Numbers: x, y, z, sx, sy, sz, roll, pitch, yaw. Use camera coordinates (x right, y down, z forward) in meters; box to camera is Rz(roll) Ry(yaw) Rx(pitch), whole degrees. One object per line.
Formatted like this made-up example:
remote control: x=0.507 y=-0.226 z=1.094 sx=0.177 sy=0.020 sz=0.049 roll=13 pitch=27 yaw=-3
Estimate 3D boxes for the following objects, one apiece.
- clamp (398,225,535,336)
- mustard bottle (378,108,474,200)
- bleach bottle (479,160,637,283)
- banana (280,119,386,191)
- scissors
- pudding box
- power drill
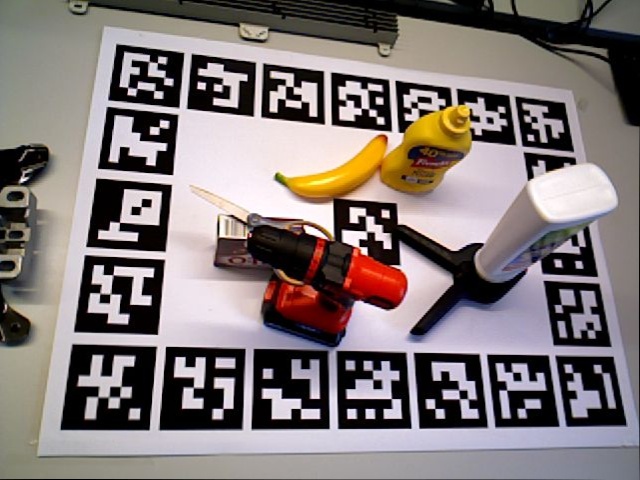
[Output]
clamp: x=0.216 y=0.048 z=0.773 sx=0.200 sy=0.037 sz=0.164 roll=-2 pitch=73 yaw=-15
mustard bottle: x=0.157 y=-0.124 z=0.758 sx=0.095 sy=0.195 sz=0.057 roll=18 pitch=65 yaw=-8
bleach bottle: x=0.275 y=-0.002 z=0.688 sx=0.101 sy=0.255 sz=0.067 roll=-16 pitch=69 yaw=-12
banana: x=0.037 y=-0.121 z=0.802 sx=0.194 sy=0.039 sz=0.074 roll=-36 pitch=64 yaw=-22
scissors: x=-0.080 y=-0.029 z=0.647 sx=0.202 sy=0.016 sz=0.086 roll=29 pitch=71 yaw=-7
pudding box: x=-0.086 y=0.002 z=0.706 sx=0.113 sy=0.092 sz=0.038 roll=9 pitch=61 yaw=-11
power drill: x=-0.010 y=0.057 z=0.618 sx=0.183 sy=0.191 sz=0.056 roll=16 pitch=59 yaw=-4
